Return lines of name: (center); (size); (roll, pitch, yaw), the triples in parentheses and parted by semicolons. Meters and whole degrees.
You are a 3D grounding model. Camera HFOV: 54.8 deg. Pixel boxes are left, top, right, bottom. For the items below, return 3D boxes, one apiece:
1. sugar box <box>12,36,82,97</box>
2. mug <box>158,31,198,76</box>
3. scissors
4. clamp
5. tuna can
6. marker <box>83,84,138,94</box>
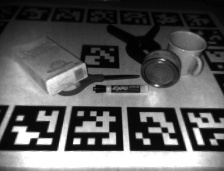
sugar box: (-0.155, -0.054, 0.500); (0.093, 0.045, 0.174); (-27, 48, -27)
mug: (0.159, -0.070, 0.527); (0.094, 0.082, 0.115); (-19, 47, -21)
scissors: (-0.049, -0.024, 0.502); (0.204, 0.016, 0.087); (-5, 43, -12)
clamp: (0.067, -0.117, 0.606); (0.166, 0.037, 0.201); (-6, 48, -10)
tuna can: (0.100, -0.037, 0.484); (0.085, 0.086, 0.034); (13, 47, 9)
marker: (-0.003, 0.008, 0.478); (0.121, 0.020, 0.019); (-2, 47, -5)
